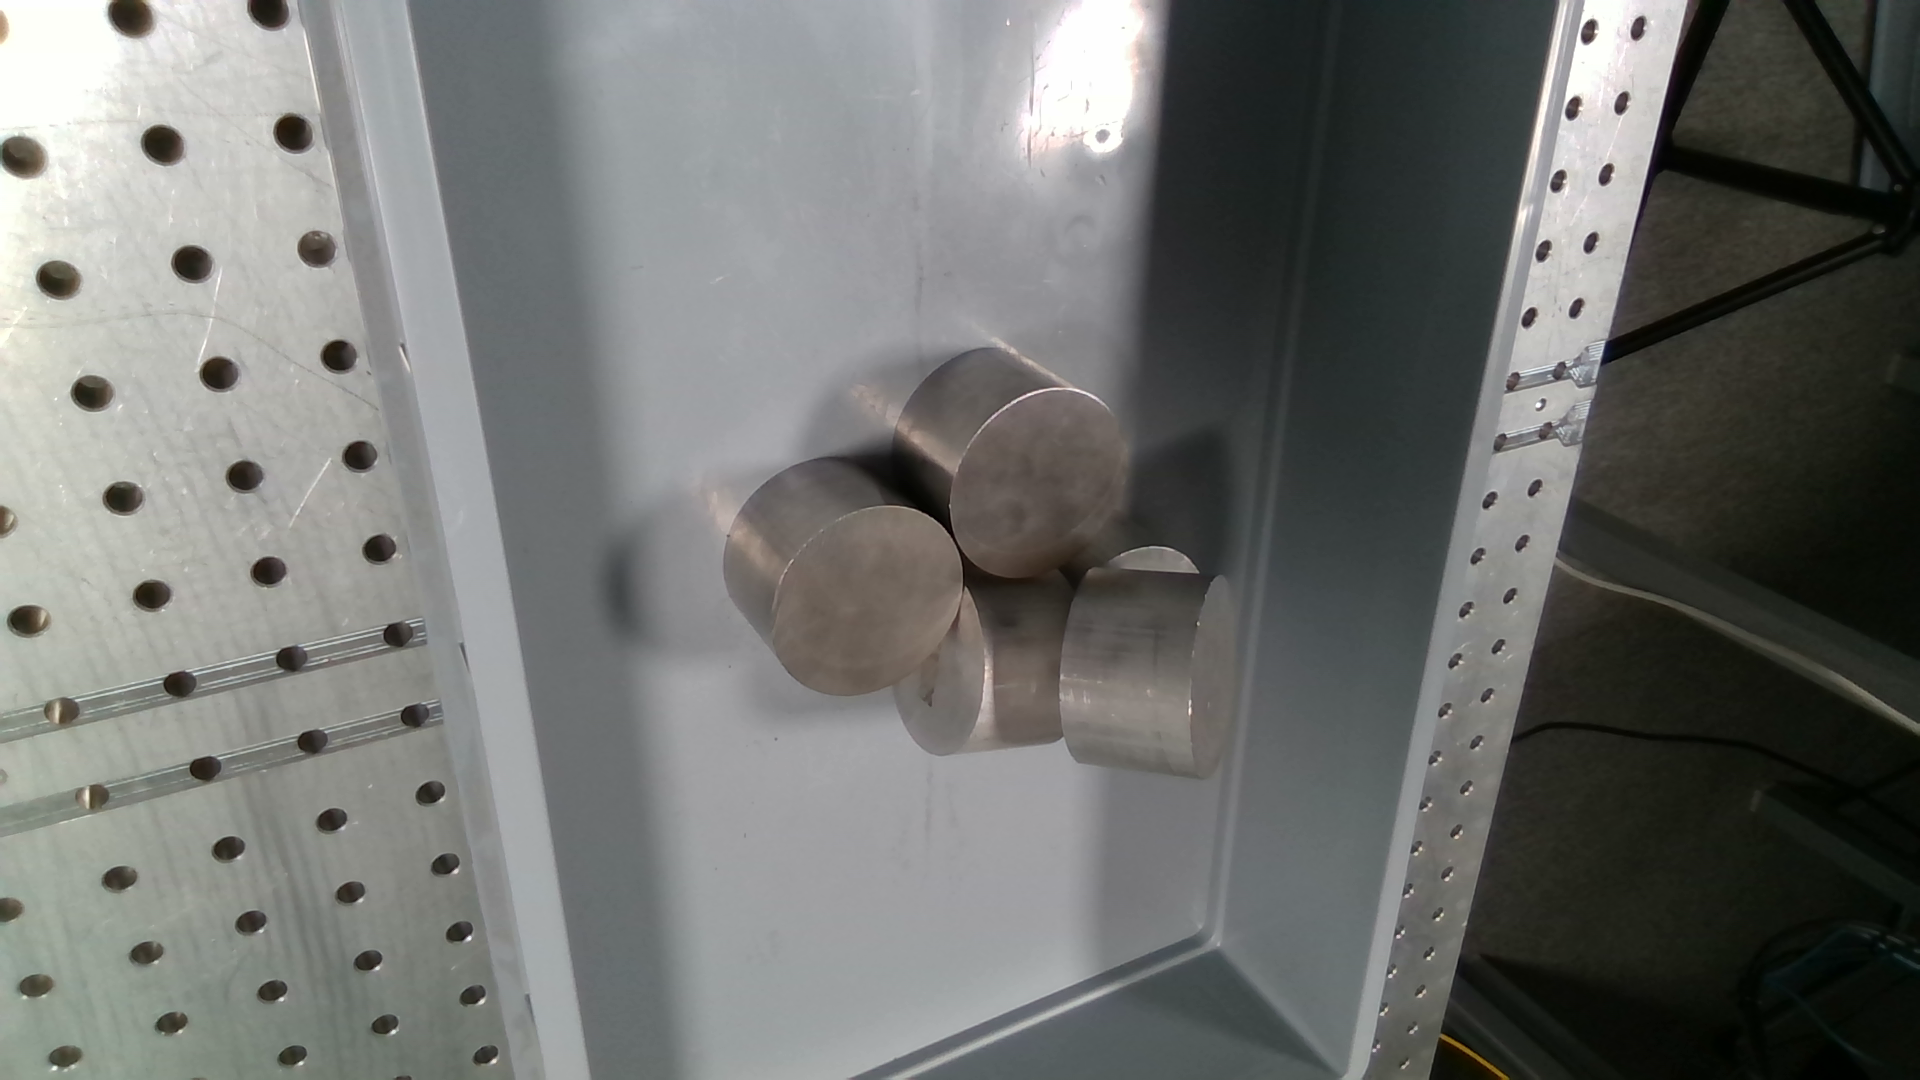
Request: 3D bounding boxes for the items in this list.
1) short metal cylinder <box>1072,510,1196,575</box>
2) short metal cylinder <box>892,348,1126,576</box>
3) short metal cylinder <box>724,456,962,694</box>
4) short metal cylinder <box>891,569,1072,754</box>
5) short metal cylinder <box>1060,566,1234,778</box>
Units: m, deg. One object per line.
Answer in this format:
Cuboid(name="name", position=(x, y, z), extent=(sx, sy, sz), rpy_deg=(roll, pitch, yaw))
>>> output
Cuboid(name="short metal cylinder", position=(0.062, 0.028, 0.616), extent=(0.080, 0.050, 0.080), rpy_deg=(-14, 122, -25))
Cuboid(name="short metal cylinder", position=(0.020, -0.032, 0.557), extent=(0.080, 0.050, 0.080), rpy_deg=(-14, 122, -25))
Cuboid(name="short metal cylinder", position=(-0.046, 0.013, 0.541), extent=(0.080, 0.050, 0.080), rpy_deg=(-14, 122, -25))
Cuboid(name="short metal cylinder", position=(0.010, 0.047, 0.576), extent=(0.050, 0.080, 0.080), rpy_deg=(-1, 115, -31))
Cuboid(name="short metal cylinder", position=(0.076, 0.051, 0.547), extent=(0.080, 0.050, 0.080), rpy_deg=(5, 89, -67))
